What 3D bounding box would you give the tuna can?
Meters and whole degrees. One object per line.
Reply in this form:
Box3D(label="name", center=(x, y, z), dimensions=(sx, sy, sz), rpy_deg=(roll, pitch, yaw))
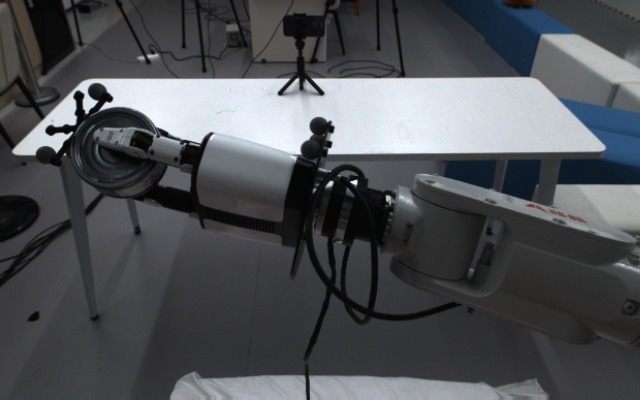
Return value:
Box3D(label="tuna can", center=(-0.192, -0.042, 0.475), dimensions=(0.085, 0.034, 0.085), rpy_deg=(1, 78, -6))
